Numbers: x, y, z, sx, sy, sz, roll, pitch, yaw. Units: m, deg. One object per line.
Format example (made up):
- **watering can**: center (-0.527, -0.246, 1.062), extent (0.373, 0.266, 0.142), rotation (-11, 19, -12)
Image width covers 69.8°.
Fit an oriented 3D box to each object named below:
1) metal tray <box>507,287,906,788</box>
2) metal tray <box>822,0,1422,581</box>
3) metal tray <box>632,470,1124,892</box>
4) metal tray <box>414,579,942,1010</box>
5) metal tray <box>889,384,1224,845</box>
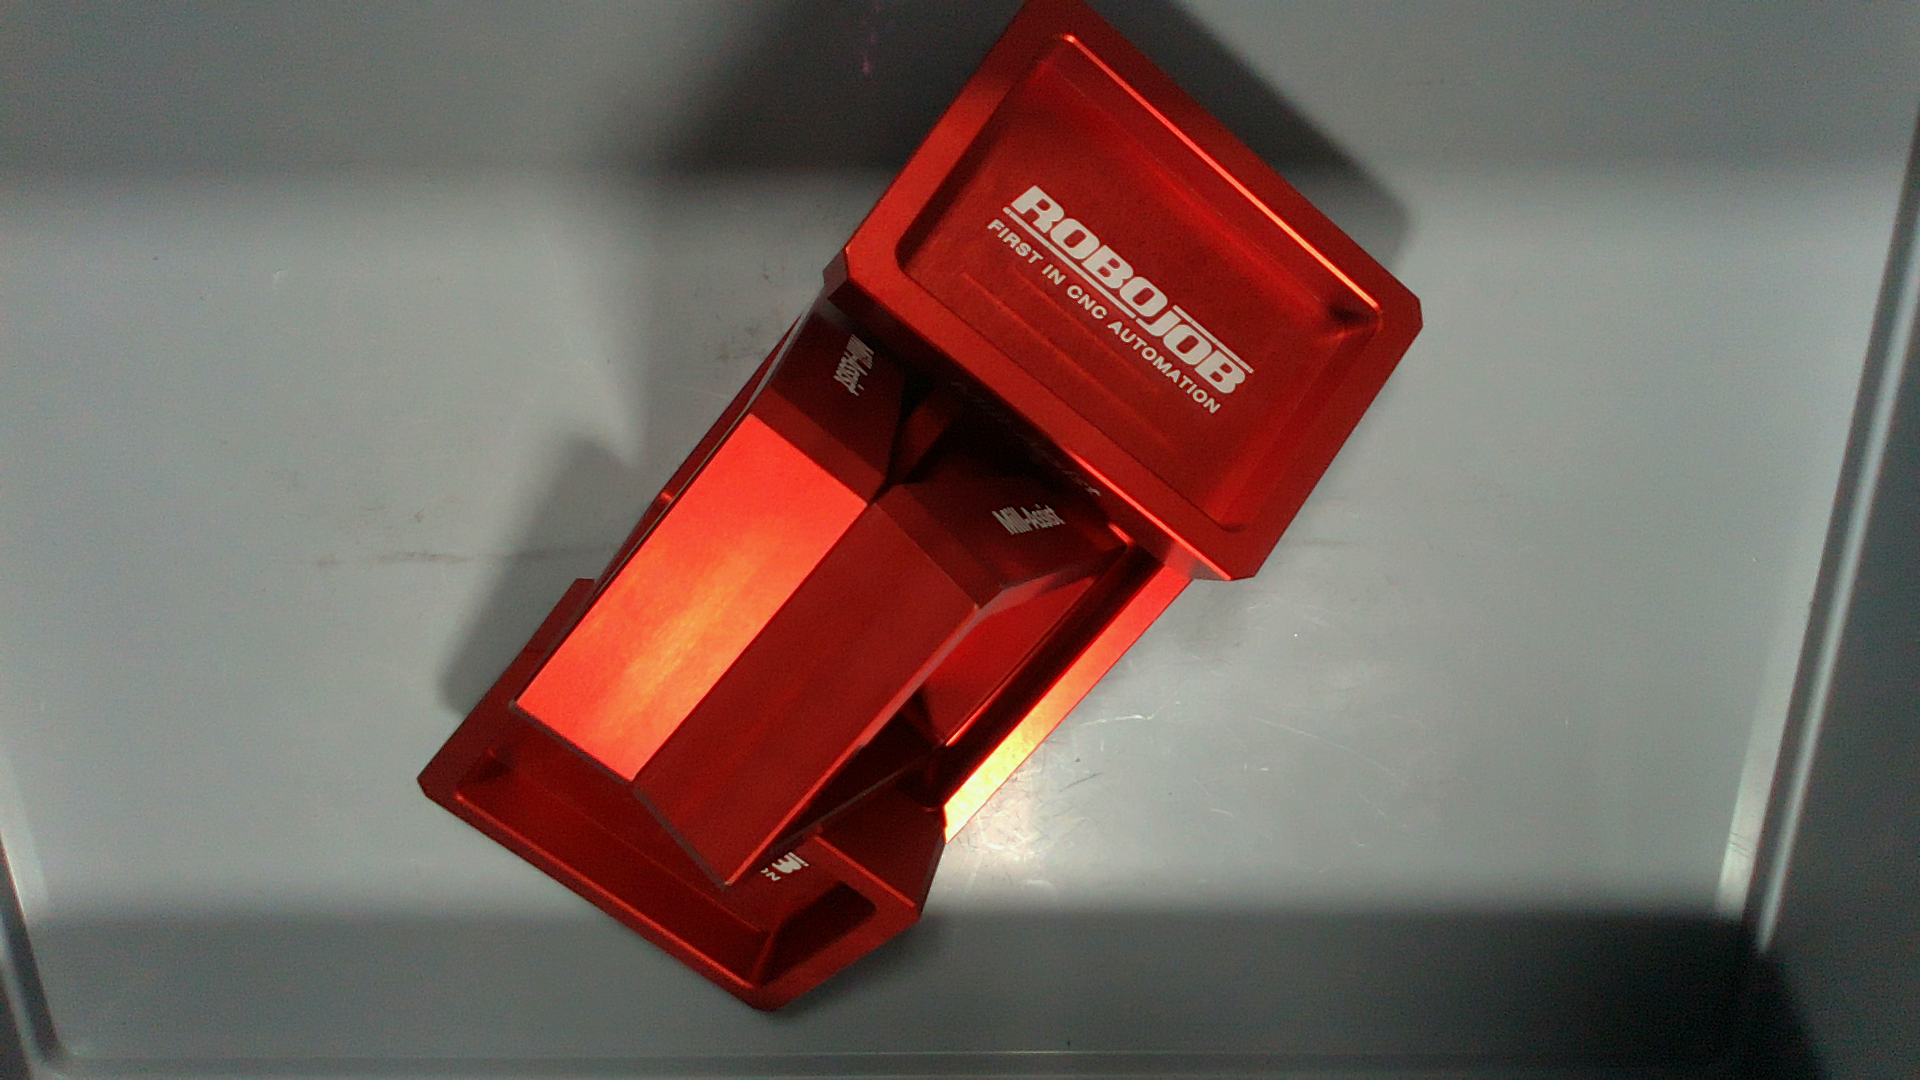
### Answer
- **metal tray**: center (-0.054, -0.009, 0.332), extent (0.030, 0.130, 0.090), rotation (38, 106, -12)
- **metal tray**: center (0.043, -0.061, 0.349), extent (0.130, 0.030, 0.090), rotation (37, 80, -13)
- **metal tray**: center (-0.012, 0.027, 0.334), extent (0.030, 0.130, 0.090), rotation (44, 105, 10)
- **metal tray**: center (-0.082, 0.079, 0.400), extent (0.130, 0.030, 0.090), rotation (38, 130, -13)
- **metal tray**: center (0.000, 0.015, 0.395), extent (0.090, 0.030, 0.130), rotation (37, 106, -13)
